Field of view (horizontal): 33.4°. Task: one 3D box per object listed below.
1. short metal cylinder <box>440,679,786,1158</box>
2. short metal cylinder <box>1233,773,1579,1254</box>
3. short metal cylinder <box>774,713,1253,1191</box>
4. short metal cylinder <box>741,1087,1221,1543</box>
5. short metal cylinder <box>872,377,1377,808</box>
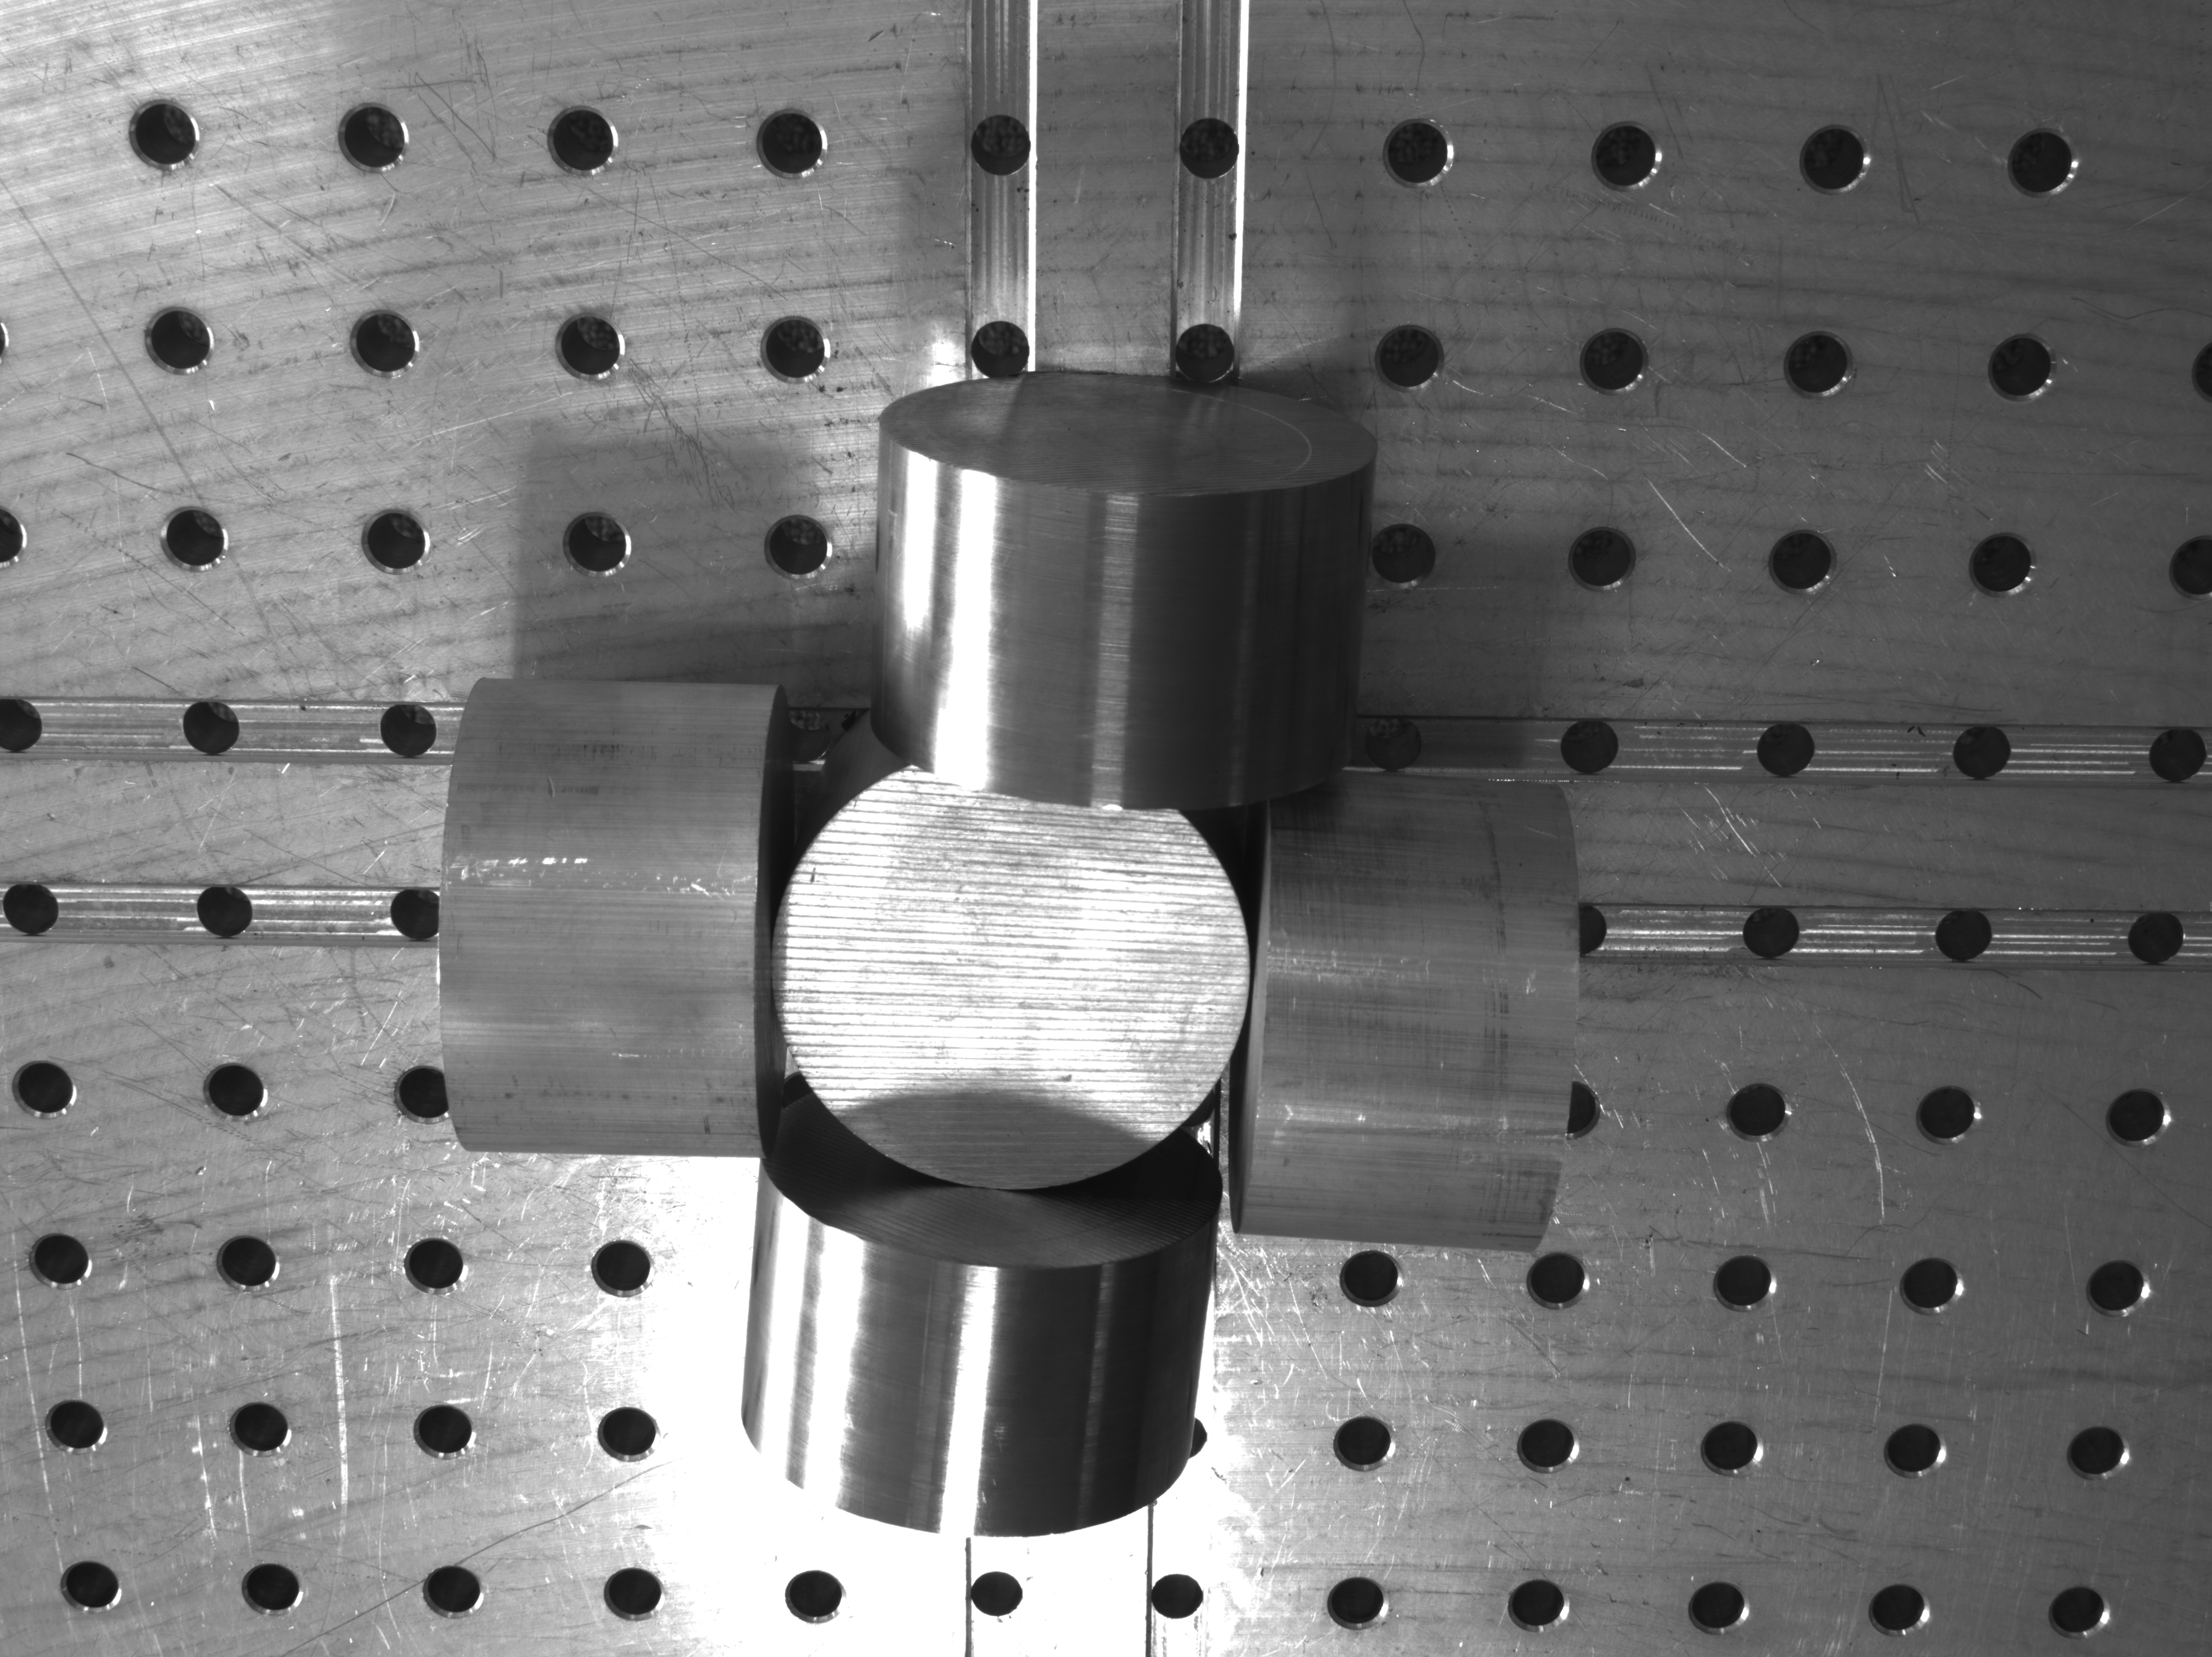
[{"bbox_3d":[-0.081,0.015,0.622,0.050,0.080,0.080,1,110,-1],"label":"short metal cylinder"},{"bbox_3d":[0.049,0.031,0.629,0.050,0.080,0.080,3,110,-1],"label":"short metal cylinder"},{"bbox_3d":[-0.016,0.016,0.639,0.080,0.050,0.080,0,110,-1],"label":"short metal cylinder"},{"bbox_3d":[-0.022,0.082,0.646,0.080,0.080,0.050,6,109,-2],"label":"short metal cylinder"},{"bbox_3d":[0.002,-0.040,0.602,0.080,0.080,0.050,3,110,-1],"label":"short metal cylinder"}]
